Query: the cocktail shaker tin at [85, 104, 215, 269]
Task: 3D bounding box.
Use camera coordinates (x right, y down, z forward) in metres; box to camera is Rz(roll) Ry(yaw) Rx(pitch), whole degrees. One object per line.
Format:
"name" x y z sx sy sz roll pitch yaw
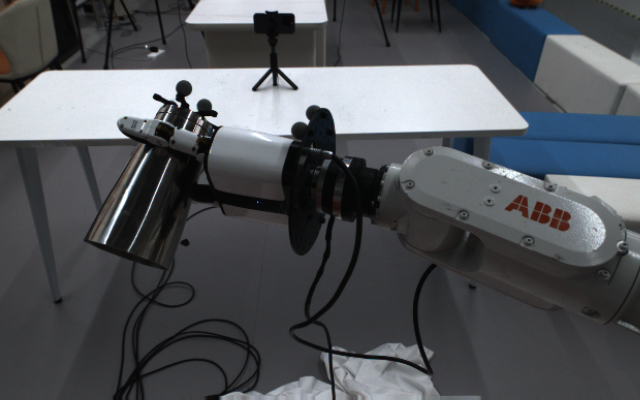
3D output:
"cocktail shaker tin" -0.180 -0.018 0.544 0.093 0.093 0.170 13 71 15
